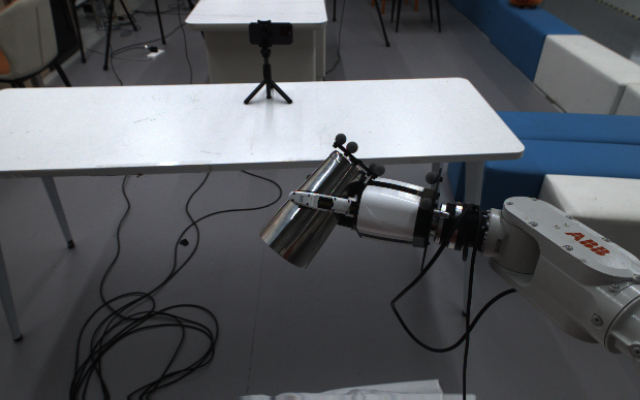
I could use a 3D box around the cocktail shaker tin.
[{"bbox_3d":[-0.004,0.007,0.741,0.170,0.093,0.093,-50,46,4],"label":"cocktail shaker tin"}]
